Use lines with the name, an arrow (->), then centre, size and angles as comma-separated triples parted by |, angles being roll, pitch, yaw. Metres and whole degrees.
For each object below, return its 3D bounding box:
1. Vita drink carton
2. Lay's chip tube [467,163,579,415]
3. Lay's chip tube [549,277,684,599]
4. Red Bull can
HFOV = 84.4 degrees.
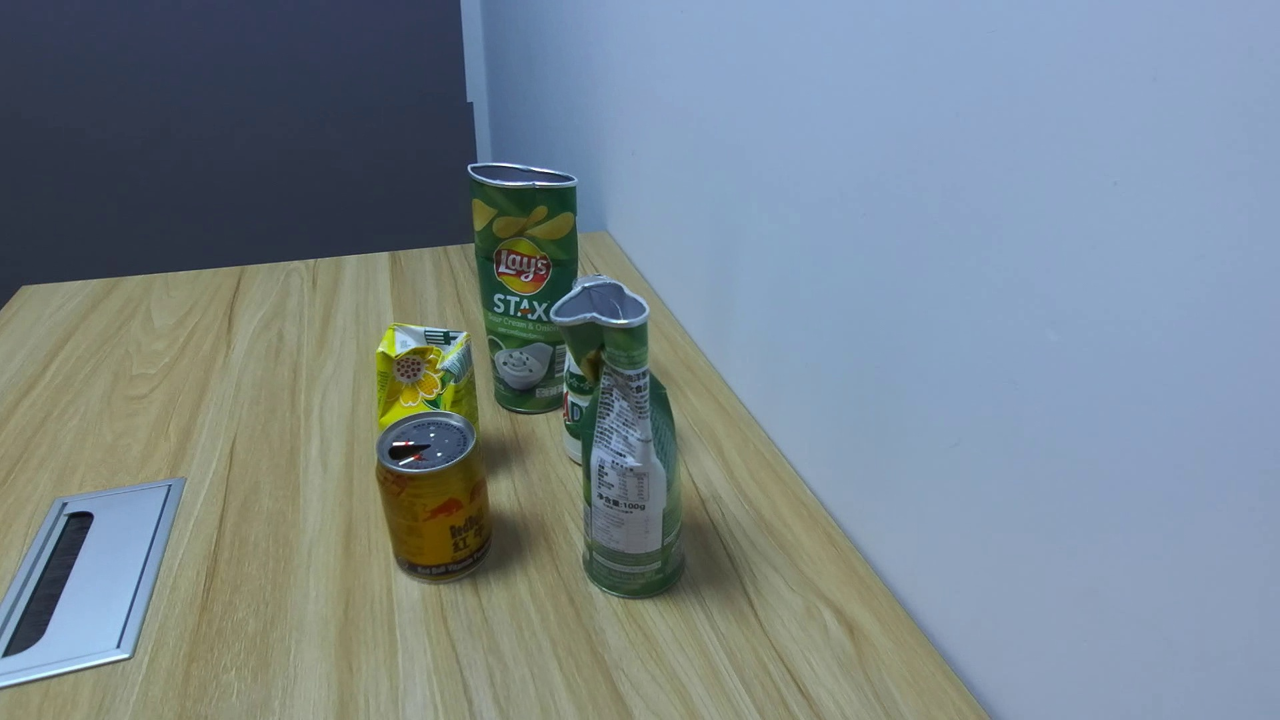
Vita drink carton -> -0.160, 0.033, 0.527 | 0.071, 0.110, 0.046 | 7, 31, 10
Lay's chip tube -> -0.092, -0.055, 0.582 | 0.075, 0.199, 0.068 | -8, 32, -17
Lay's chip tube -> -0.012, 0.049, 0.423 | 0.071, 0.199, 0.079 | 3, 30, 15
Red Bull can -> -0.132, 0.088, 0.457 | 0.067, 0.093, 0.067 | 2, 32, -1
